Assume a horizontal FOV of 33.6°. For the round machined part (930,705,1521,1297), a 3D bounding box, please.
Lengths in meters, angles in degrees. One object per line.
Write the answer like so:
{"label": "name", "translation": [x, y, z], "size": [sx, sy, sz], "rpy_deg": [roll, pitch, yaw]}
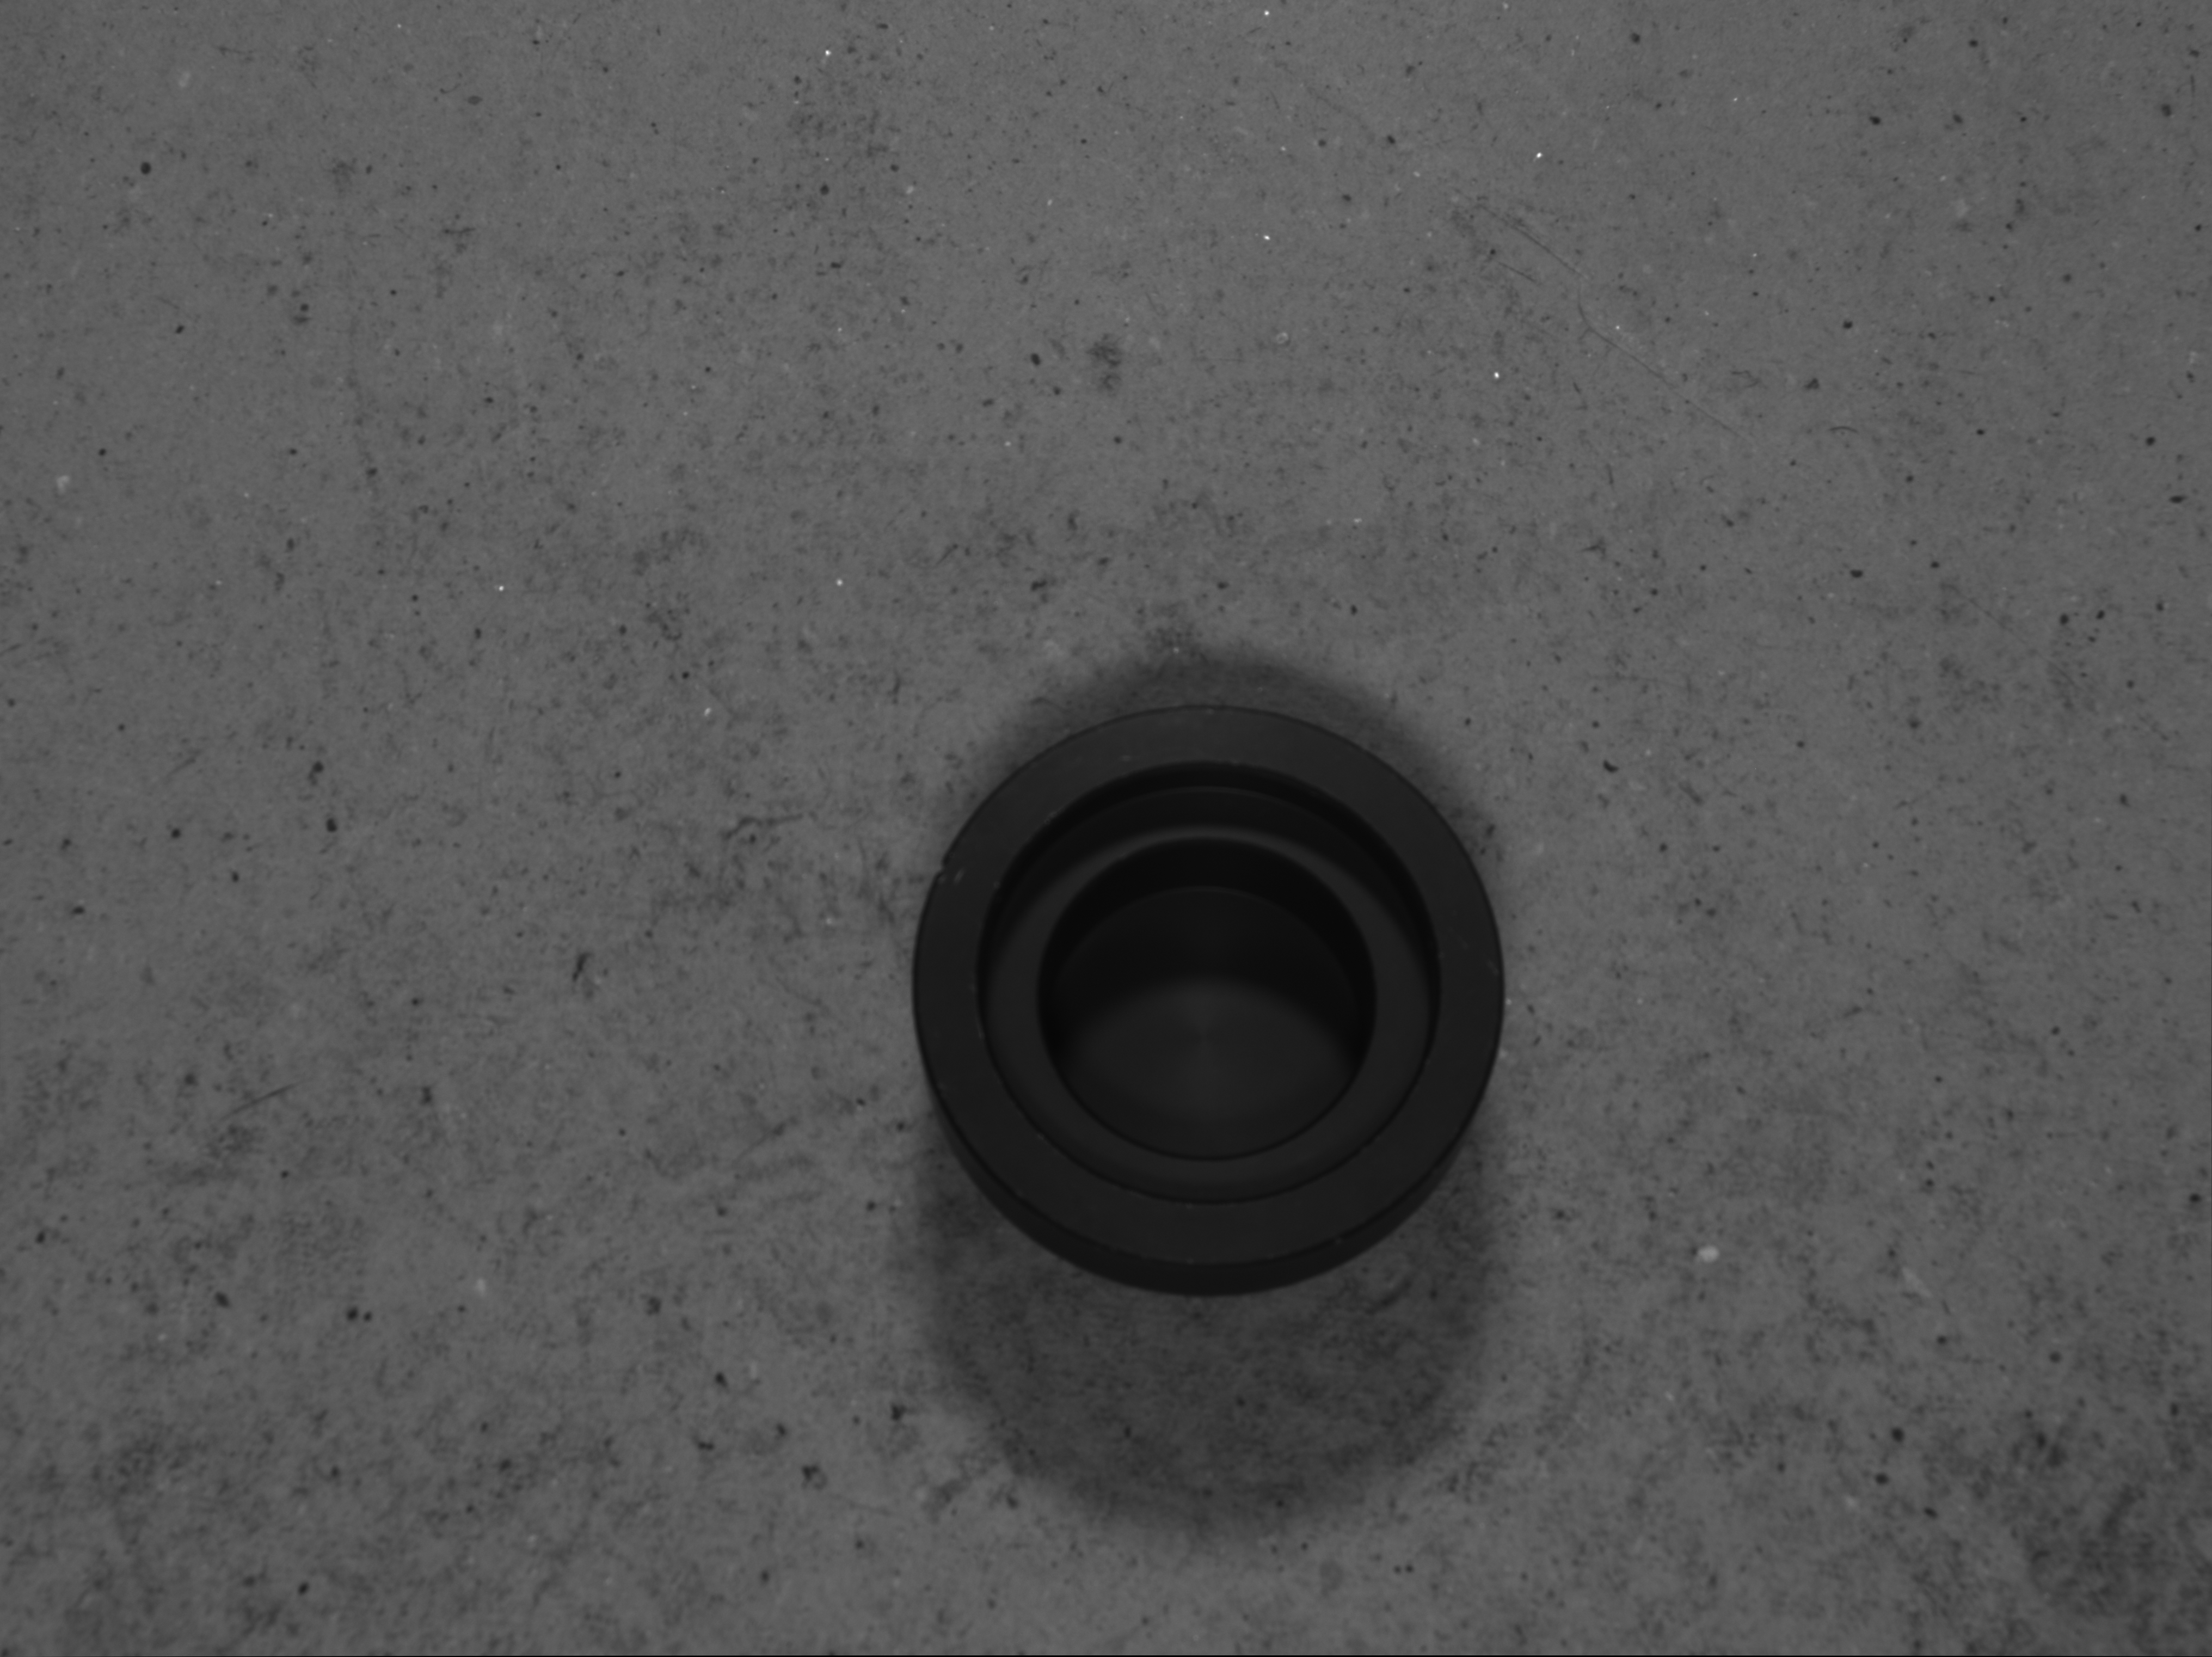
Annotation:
{"label": "round machined part", "translation": [0.020, 0.032, 0.624], "size": [0.098, 0.042, 0.098], "rpy_deg": [0, 70, 0]}
